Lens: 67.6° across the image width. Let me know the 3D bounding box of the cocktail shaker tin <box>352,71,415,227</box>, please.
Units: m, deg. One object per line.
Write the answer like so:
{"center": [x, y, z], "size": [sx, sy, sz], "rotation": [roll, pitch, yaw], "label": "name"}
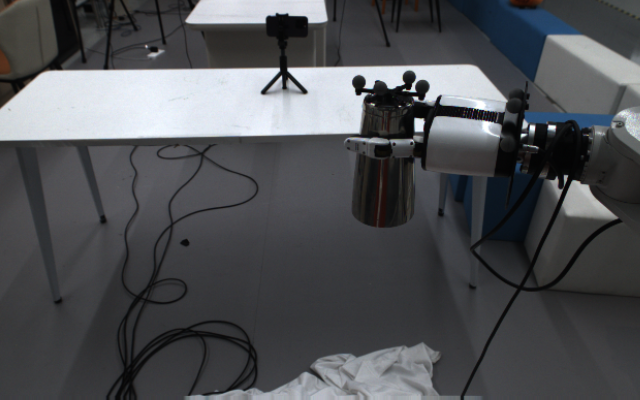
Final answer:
{"center": [0.094, -0.062, 0.668], "size": [0.093, 0.170, 0.093], "rotation": [-1, 32, 1], "label": "cocktail shaker tin"}
